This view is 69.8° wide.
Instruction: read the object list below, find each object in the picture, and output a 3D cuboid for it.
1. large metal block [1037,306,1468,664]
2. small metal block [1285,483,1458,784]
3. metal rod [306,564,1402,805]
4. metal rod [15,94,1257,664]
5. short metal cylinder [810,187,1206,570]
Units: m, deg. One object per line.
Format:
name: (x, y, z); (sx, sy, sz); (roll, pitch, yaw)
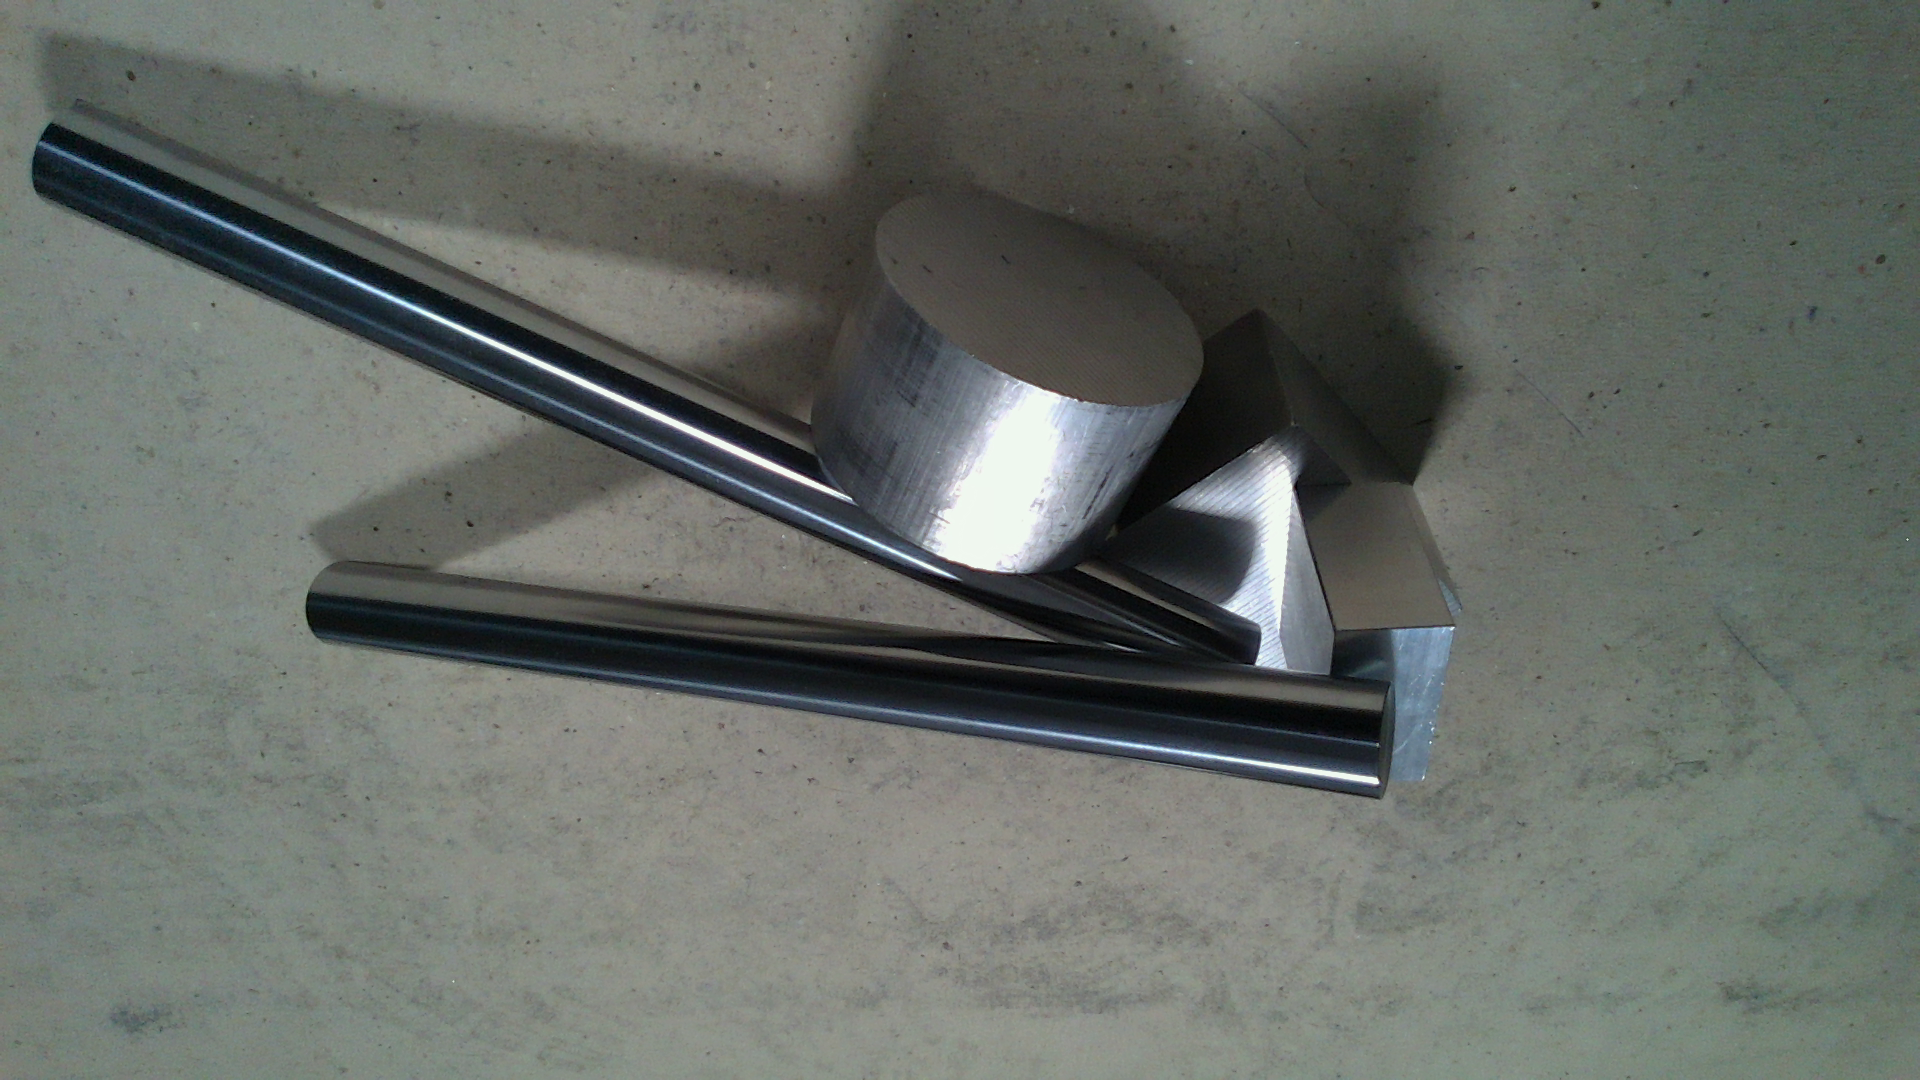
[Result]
large metal block: (0.075, -0.001, 0.372); (0.080, 0.050, 0.080); (-33, 122, 26)
small metal block: (0.094, 0.022, 0.324); (0.025, 0.050, 0.050); (-3, 130, 3)
metal rod: (-0.046, 0.031, 0.347); (0.299, 0.025, 0.025); (5, 133, 23)
metal rod: (-0.070, -0.031, 0.327); (0.300, 0.025, 0.025); (23, 127, -4)
short metal cylinder: (0.010, -0.039, 0.323); (0.080, 0.080, 0.050); (16, 128, -13)
